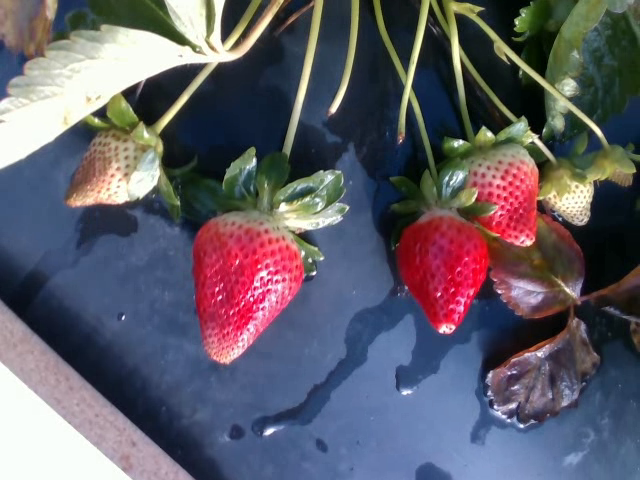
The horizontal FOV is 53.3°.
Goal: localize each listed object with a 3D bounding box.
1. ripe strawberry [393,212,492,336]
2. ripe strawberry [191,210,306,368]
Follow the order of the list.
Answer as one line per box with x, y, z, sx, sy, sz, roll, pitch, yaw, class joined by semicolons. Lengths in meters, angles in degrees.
0.051;0.016;0.268;0.044;0.055;0.042;-8;-25;19;ripe strawberry
-0.032;0.018;0.244;0.050;0.065;0.050;14;-25;9;ripe strawberry
